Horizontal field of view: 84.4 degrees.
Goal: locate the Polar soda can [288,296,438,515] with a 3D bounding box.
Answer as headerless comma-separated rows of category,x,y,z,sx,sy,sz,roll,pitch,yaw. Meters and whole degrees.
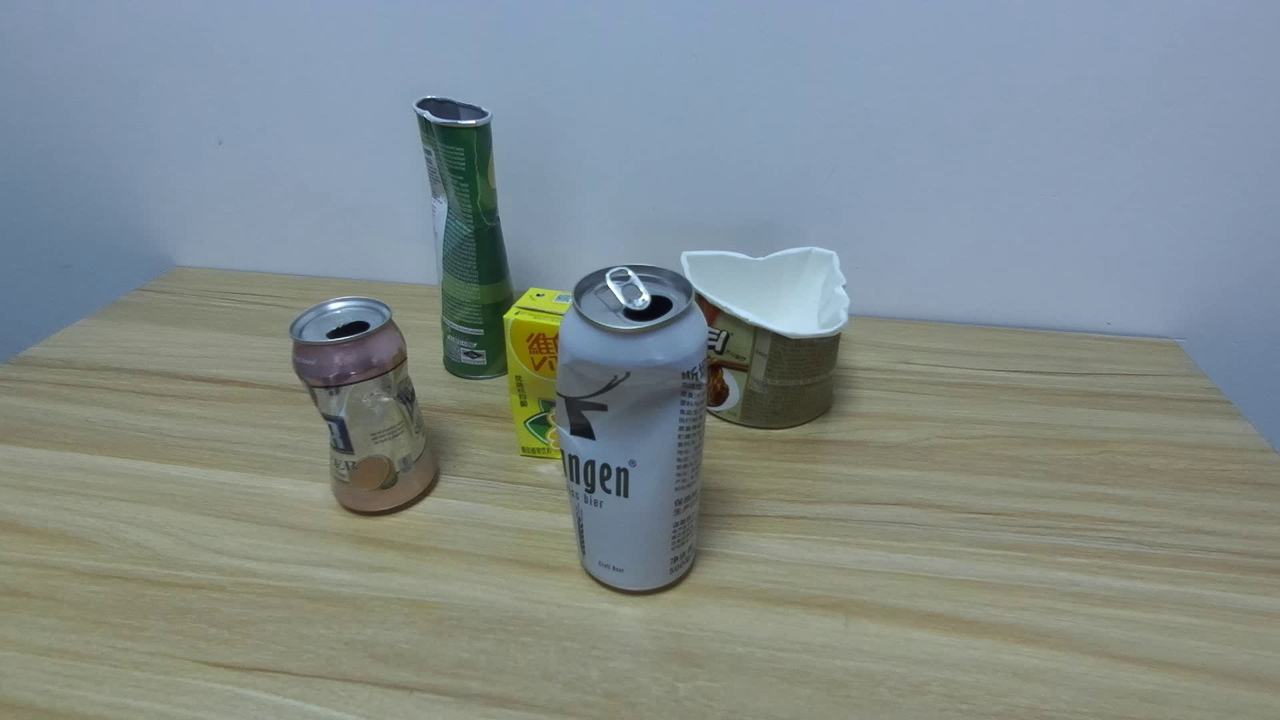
Polar soda can,-0.166,0.030,0.423,0.067,0.122,0.074,9,32,16

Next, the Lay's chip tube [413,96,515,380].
Lay's chip tube,-0.128,-0.085,0.530,0.074,0.200,0.069,8,33,15

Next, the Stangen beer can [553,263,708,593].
Stangen beer can,-0.003,0.040,0.354,0.070,0.173,0.070,-18,35,-23

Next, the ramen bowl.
ramen bowl,0.092,-0.015,0.508,0.114,0.097,0.133,-3,31,-4
